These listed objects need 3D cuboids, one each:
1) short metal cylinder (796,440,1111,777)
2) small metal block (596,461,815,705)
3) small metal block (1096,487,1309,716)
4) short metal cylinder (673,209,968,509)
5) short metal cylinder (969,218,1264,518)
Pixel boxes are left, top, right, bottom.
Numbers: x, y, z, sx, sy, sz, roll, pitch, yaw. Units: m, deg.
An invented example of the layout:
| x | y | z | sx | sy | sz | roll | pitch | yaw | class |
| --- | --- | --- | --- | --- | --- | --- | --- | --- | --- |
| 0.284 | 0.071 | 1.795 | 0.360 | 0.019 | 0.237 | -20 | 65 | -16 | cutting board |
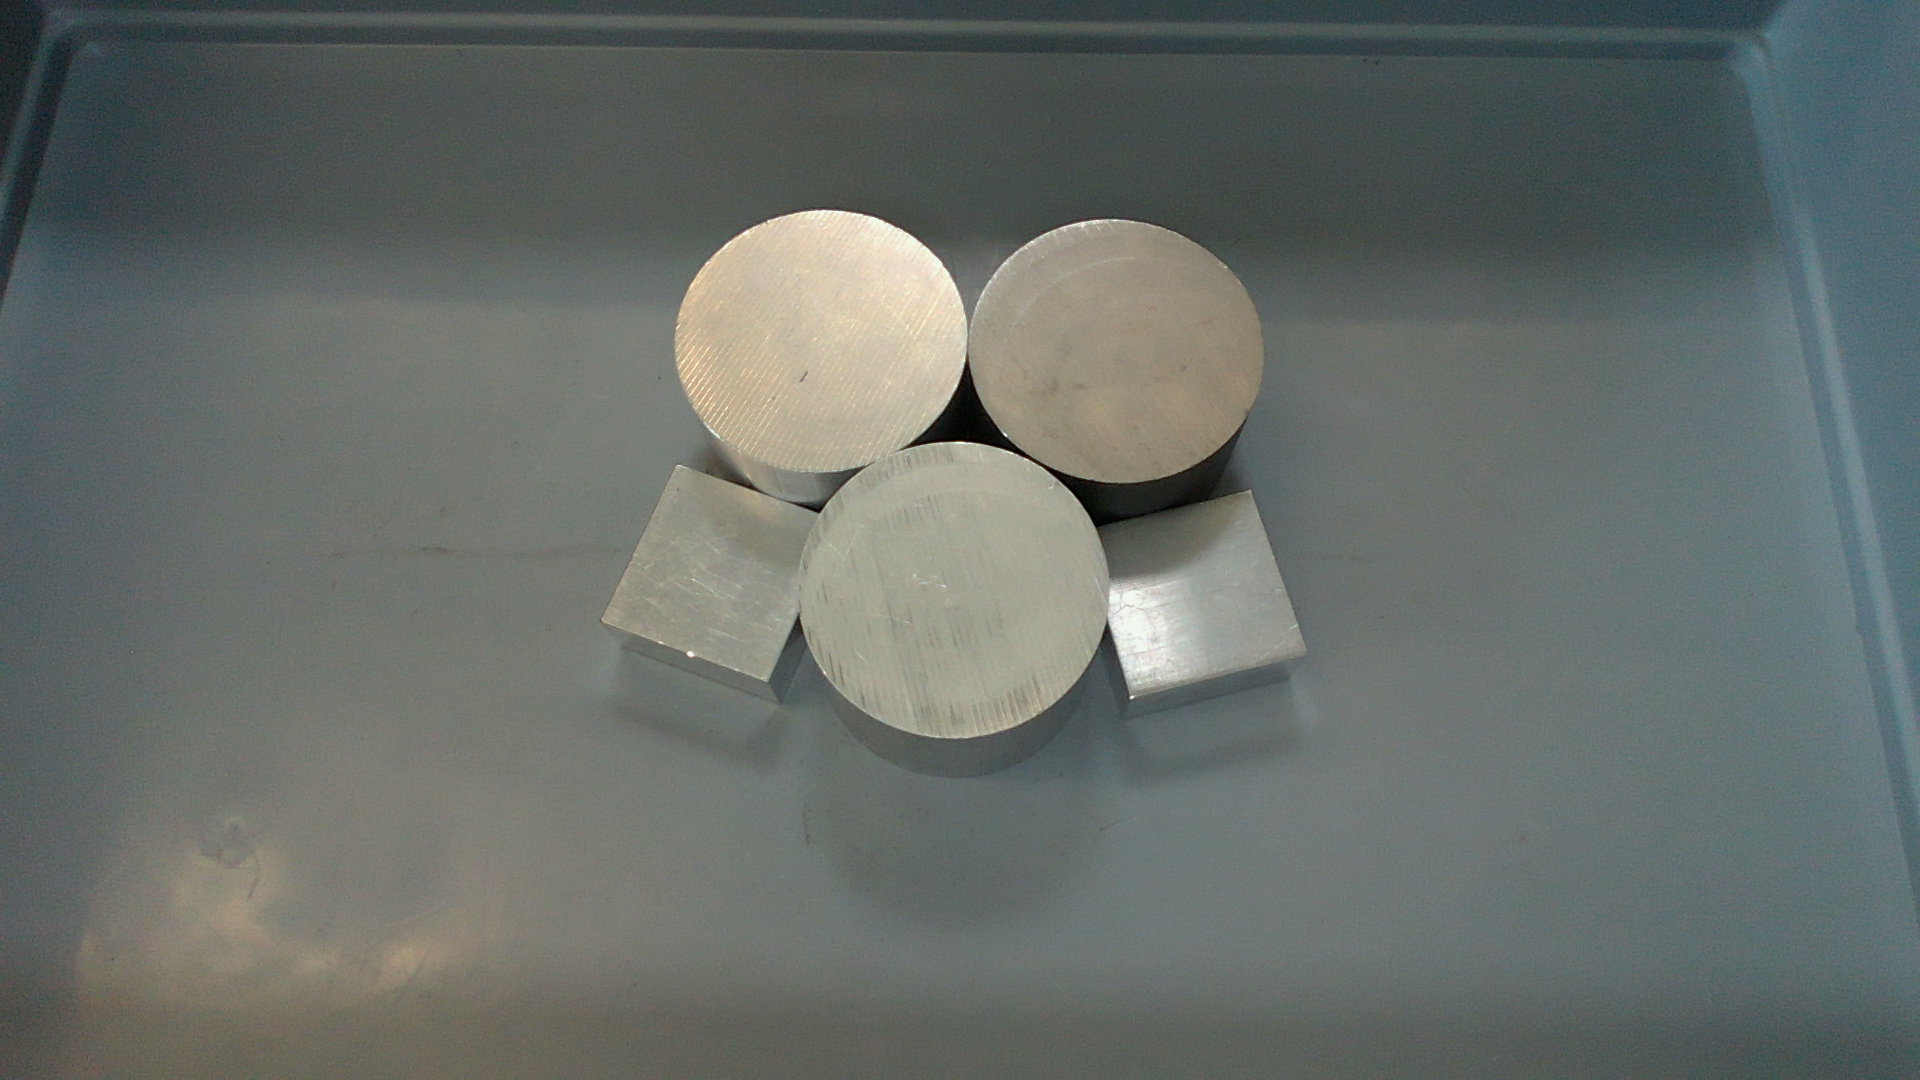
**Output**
| x | y | z | sx | sy | sz | roll | pitch | yaw | class |
| --- | --- | --- | --- | --- | --- | --- | --- | --- | --- |
| -0.002 | 0.020 | 0.373 | 0.080 | 0.050 | 0.080 | 0 | 70 | 0 | short metal cylinder |
| -0.066 | 0.012 | 0.389 | 0.050 | 0.025 | 0.050 | 20 | 71 | 7 | small metal block |
| 0.064 | 0.018 | 0.387 | 0.050 | 0.025 | 0.050 | -13 | 70 | -5 | small metal block |
| -0.038 | -0.047 | 0.397 | 0.080 | 0.050 | 0.080 | 0 | 70 | 0 | short metal cylinder |
| 0.042 | -0.045 | 0.397 | 0.080 | 0.050 | 0.080 | 0 | 70 | 0 | short metal cylinder |
